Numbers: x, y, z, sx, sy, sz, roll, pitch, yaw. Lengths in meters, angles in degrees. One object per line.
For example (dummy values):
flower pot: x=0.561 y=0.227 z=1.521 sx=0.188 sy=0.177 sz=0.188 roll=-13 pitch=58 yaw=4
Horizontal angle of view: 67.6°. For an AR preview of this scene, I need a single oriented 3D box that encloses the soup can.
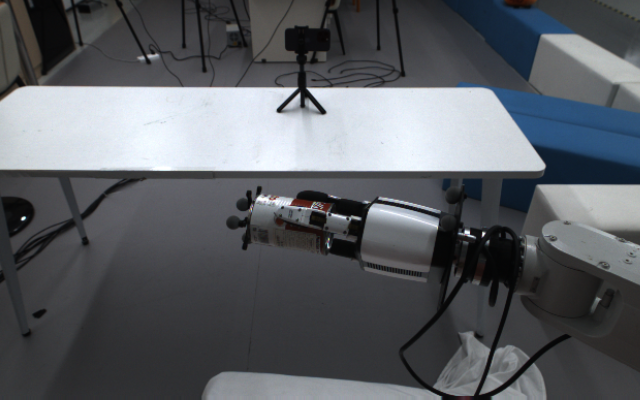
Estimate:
soup can: x=-0.033 y=0.031 z=0.626 sx=0.101 sy=0.067 sz=0.067 roll=7 pitch=35 yaw=10
